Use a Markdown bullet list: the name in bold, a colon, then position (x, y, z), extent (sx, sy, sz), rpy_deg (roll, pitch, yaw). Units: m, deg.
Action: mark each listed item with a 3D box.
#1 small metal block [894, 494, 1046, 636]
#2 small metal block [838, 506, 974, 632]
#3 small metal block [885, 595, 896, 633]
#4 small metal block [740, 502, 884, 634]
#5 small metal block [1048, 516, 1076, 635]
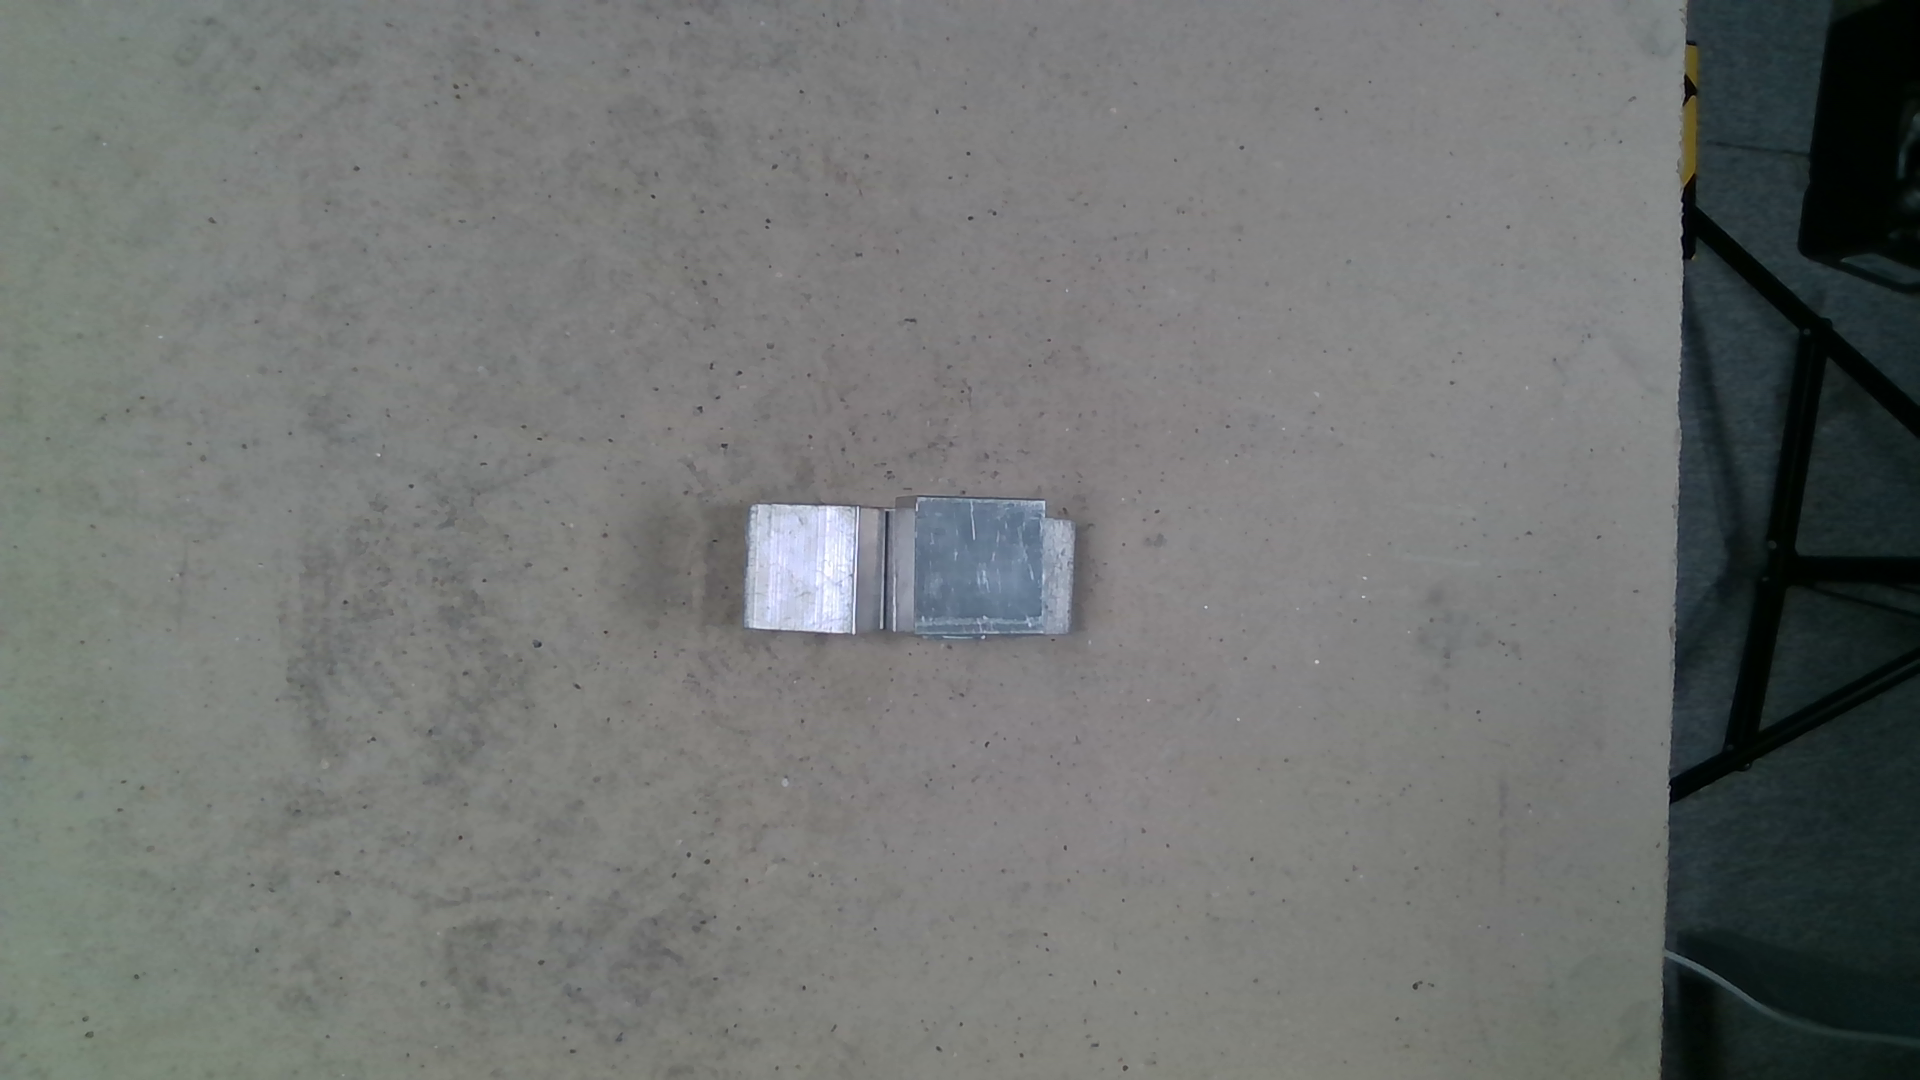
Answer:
- **small metal block**: position (0.004, 0.009, 0.508), extent (0.050, 0.025, 0.050), rpy_deg (1, 90, -20)
- **small metal block**: position (-0.023, 0.012, 0.578), extent (0.050, 0.025, 0.050), rpy_deg (2, 89, -20)
- **small metal block**: position (-0.010, 0.012, 0.542), extent (0.025, 0.050, 0.050), rpy_deg (2, 89, -20)
- **small metal block**: position (-0.059, 0.011, 0.551), extent (0.050, 0.025, 0.050), rpy_deg (2, 89, 20)
- **small metal block**: position (0.025, 0.015, 0.583), extent (0.050, 0.025, 0.050), rpy_deg (4, 88, -56)
